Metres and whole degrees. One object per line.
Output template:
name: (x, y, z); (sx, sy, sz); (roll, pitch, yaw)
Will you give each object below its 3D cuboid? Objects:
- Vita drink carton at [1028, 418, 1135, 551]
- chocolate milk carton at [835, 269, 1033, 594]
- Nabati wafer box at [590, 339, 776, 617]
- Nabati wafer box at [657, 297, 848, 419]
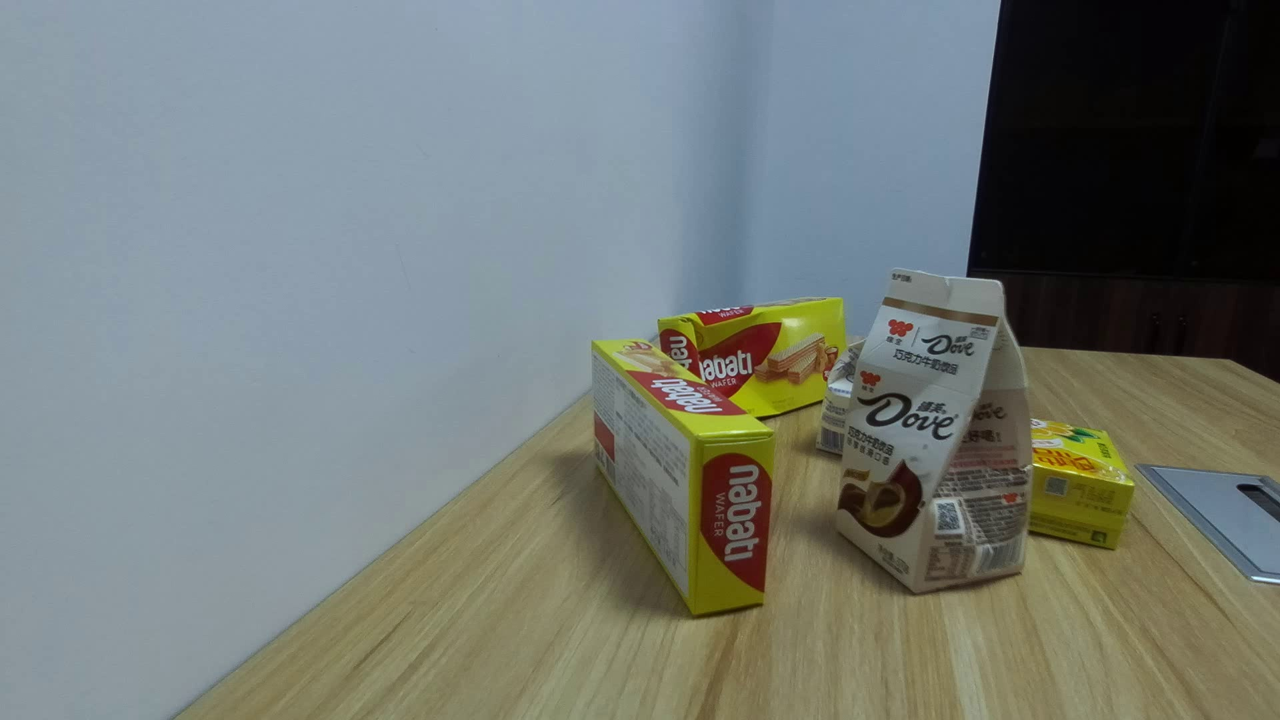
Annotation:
Vita drink carton: (0.266, 0.073, 0.447); (0.076, 0.043, 0.109); (12, 16, 24)
chocolate milk carton: (0.160, 0.032, 0.372); (0.073, 0.155, 0.084); (-4, 15, -17)
Nabati wafer box: (0.016, 0.053, 0.415); (0.042, 0.093, 0.202); (-4, 15, -16)
Nabati wafer box: (0.108, 0.000, 0.625); (0.204, 0.096, 0.042); (-8, 4, -39)
